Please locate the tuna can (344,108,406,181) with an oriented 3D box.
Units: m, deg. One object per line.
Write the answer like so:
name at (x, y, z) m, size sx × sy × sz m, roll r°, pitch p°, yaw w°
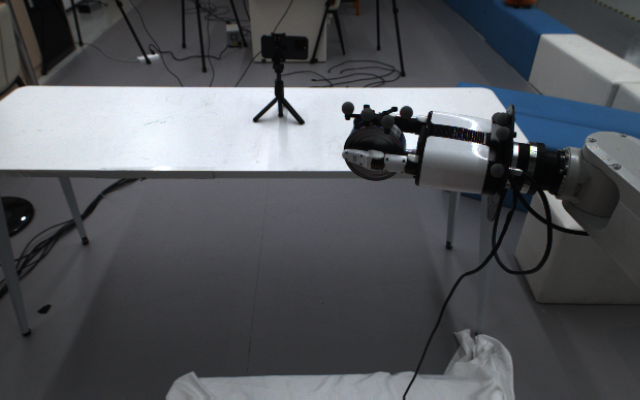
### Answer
tuna can at (0.079, -0.075, 0.687) m, size 0.085 × 0.085 × 0.034 m, roll 10°, pitch 34°, yaw 12°
